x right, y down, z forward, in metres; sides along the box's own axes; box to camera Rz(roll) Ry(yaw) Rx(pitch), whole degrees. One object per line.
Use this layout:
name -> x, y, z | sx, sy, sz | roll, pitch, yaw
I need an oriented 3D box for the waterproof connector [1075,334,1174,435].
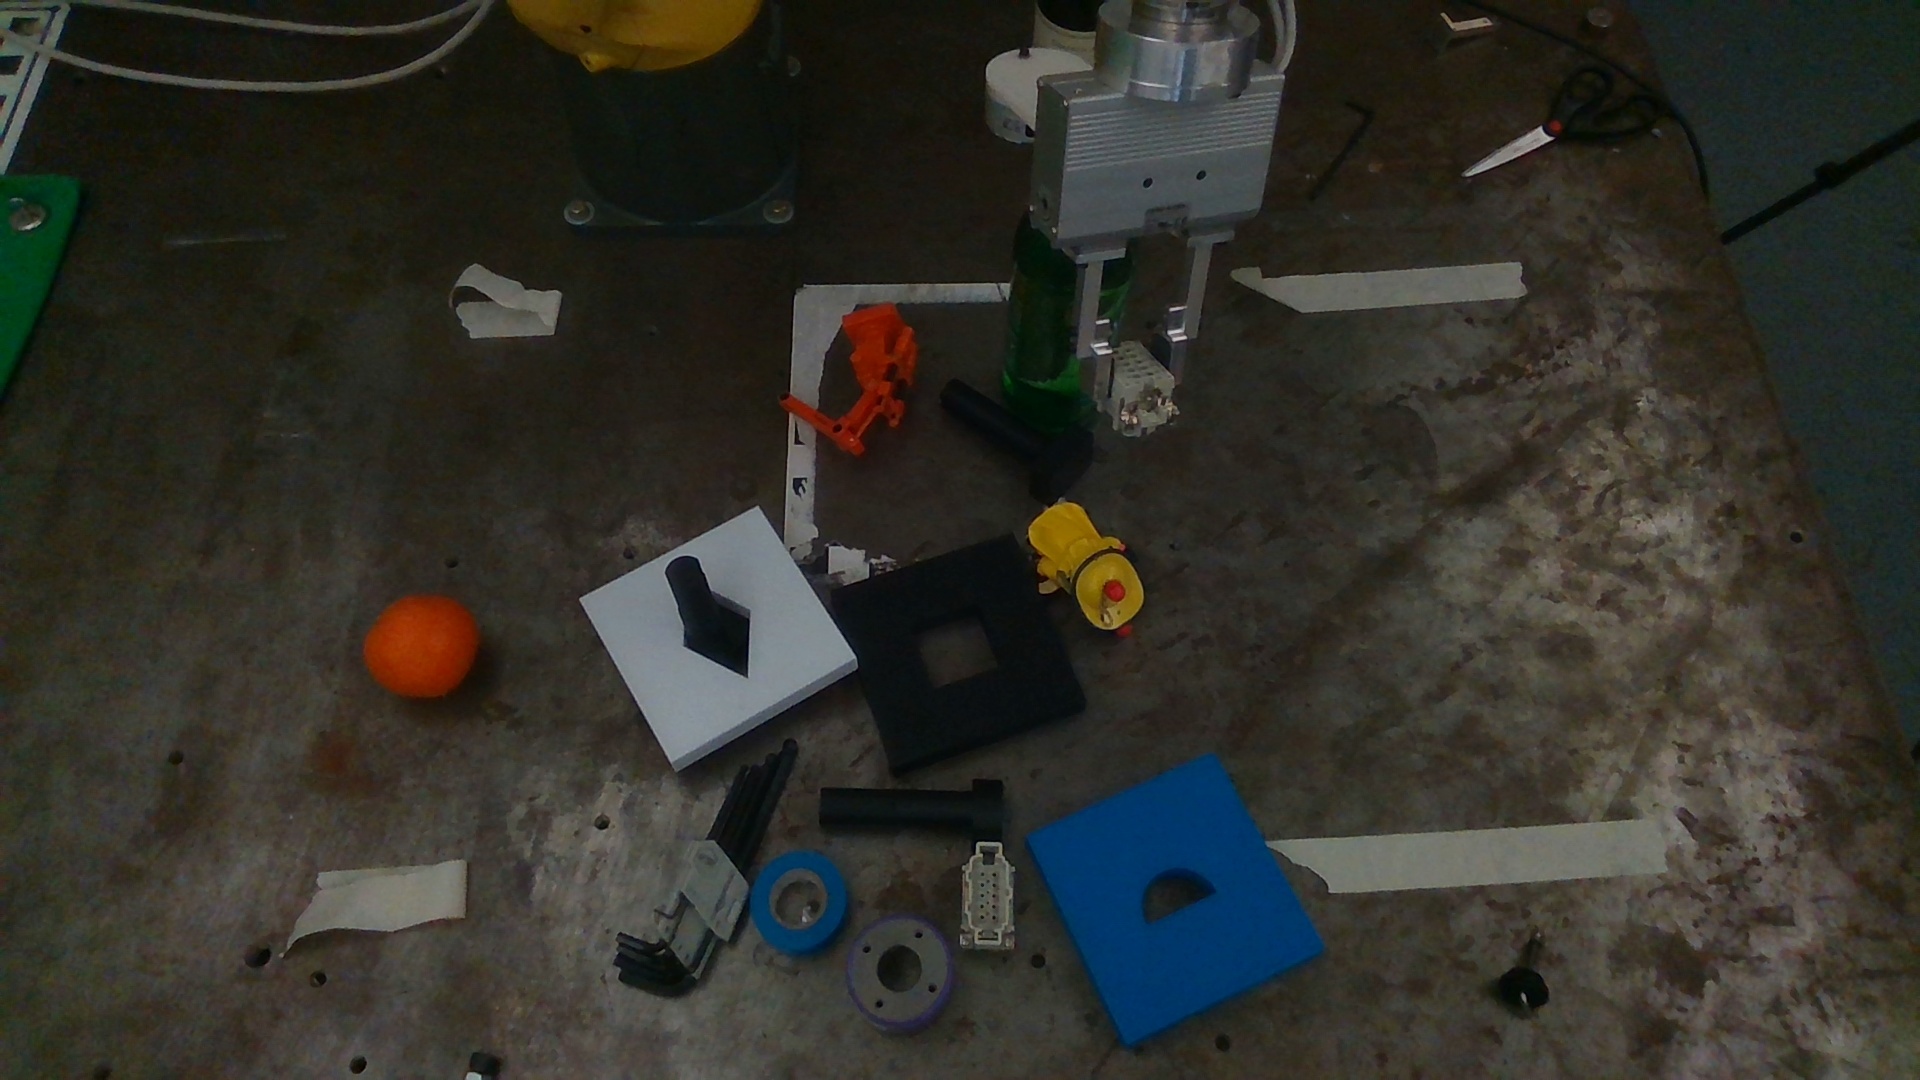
waterproof connector -> 0.096, -0.091, 0.809 | 0.036, 0.038, 0.069 | -14, 42, -15
